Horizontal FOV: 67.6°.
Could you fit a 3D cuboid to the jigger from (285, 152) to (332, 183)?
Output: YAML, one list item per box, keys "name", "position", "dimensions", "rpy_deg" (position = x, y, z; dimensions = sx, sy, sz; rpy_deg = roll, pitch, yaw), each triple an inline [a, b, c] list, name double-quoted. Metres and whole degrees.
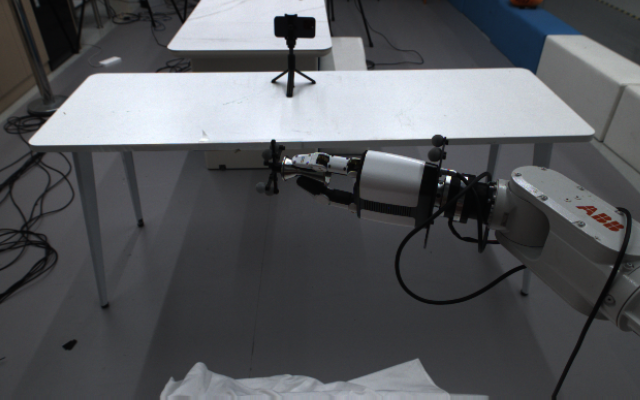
- name: "jigger"
  position: [-0.014, -0.049, 0.729]
  dimensions: [0.071, 0.043, 0.043]
  rpy_deg: [6, 35, 13]
